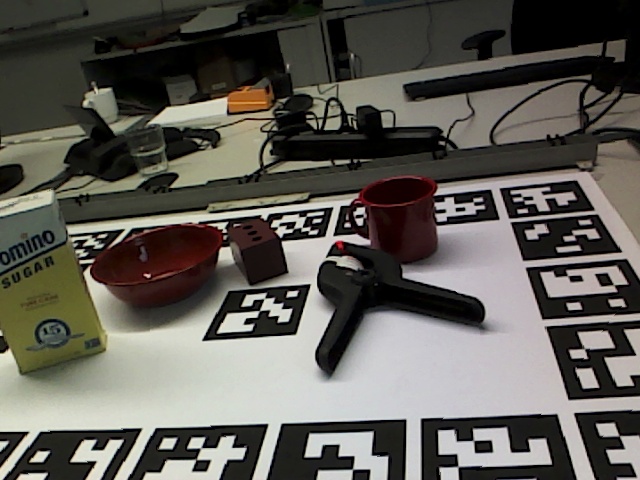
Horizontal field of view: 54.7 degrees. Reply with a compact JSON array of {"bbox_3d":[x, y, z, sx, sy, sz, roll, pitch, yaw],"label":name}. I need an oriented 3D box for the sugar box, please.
[{"bbox_3d":[-0.294,0.052,0.643,0.092,0.176,0.045,-16,29,-12],"label":"sugar box"}]

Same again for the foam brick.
[{"bbox_3d":[-0.078,0.017,0.776,0.052,0.051,0.078,-19,29,-13],"label":"foam brick"}]

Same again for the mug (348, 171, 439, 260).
[{"bbox_3d":[0.087,-0.031,0.756,0.118,0.081,0.093,12,35,31],"label":"mug"}]

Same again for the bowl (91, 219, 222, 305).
[{"bbox_3d":[-0.197,0.033,0.772,0.162,0.055,0.162,-8,28,4],"label":"bowl"}]

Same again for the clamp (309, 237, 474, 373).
[{"bbox_3d":[0.044,0.050,0.659,0.165,0.036,0.204,-18,29,-9],"label":"clamp"}]
